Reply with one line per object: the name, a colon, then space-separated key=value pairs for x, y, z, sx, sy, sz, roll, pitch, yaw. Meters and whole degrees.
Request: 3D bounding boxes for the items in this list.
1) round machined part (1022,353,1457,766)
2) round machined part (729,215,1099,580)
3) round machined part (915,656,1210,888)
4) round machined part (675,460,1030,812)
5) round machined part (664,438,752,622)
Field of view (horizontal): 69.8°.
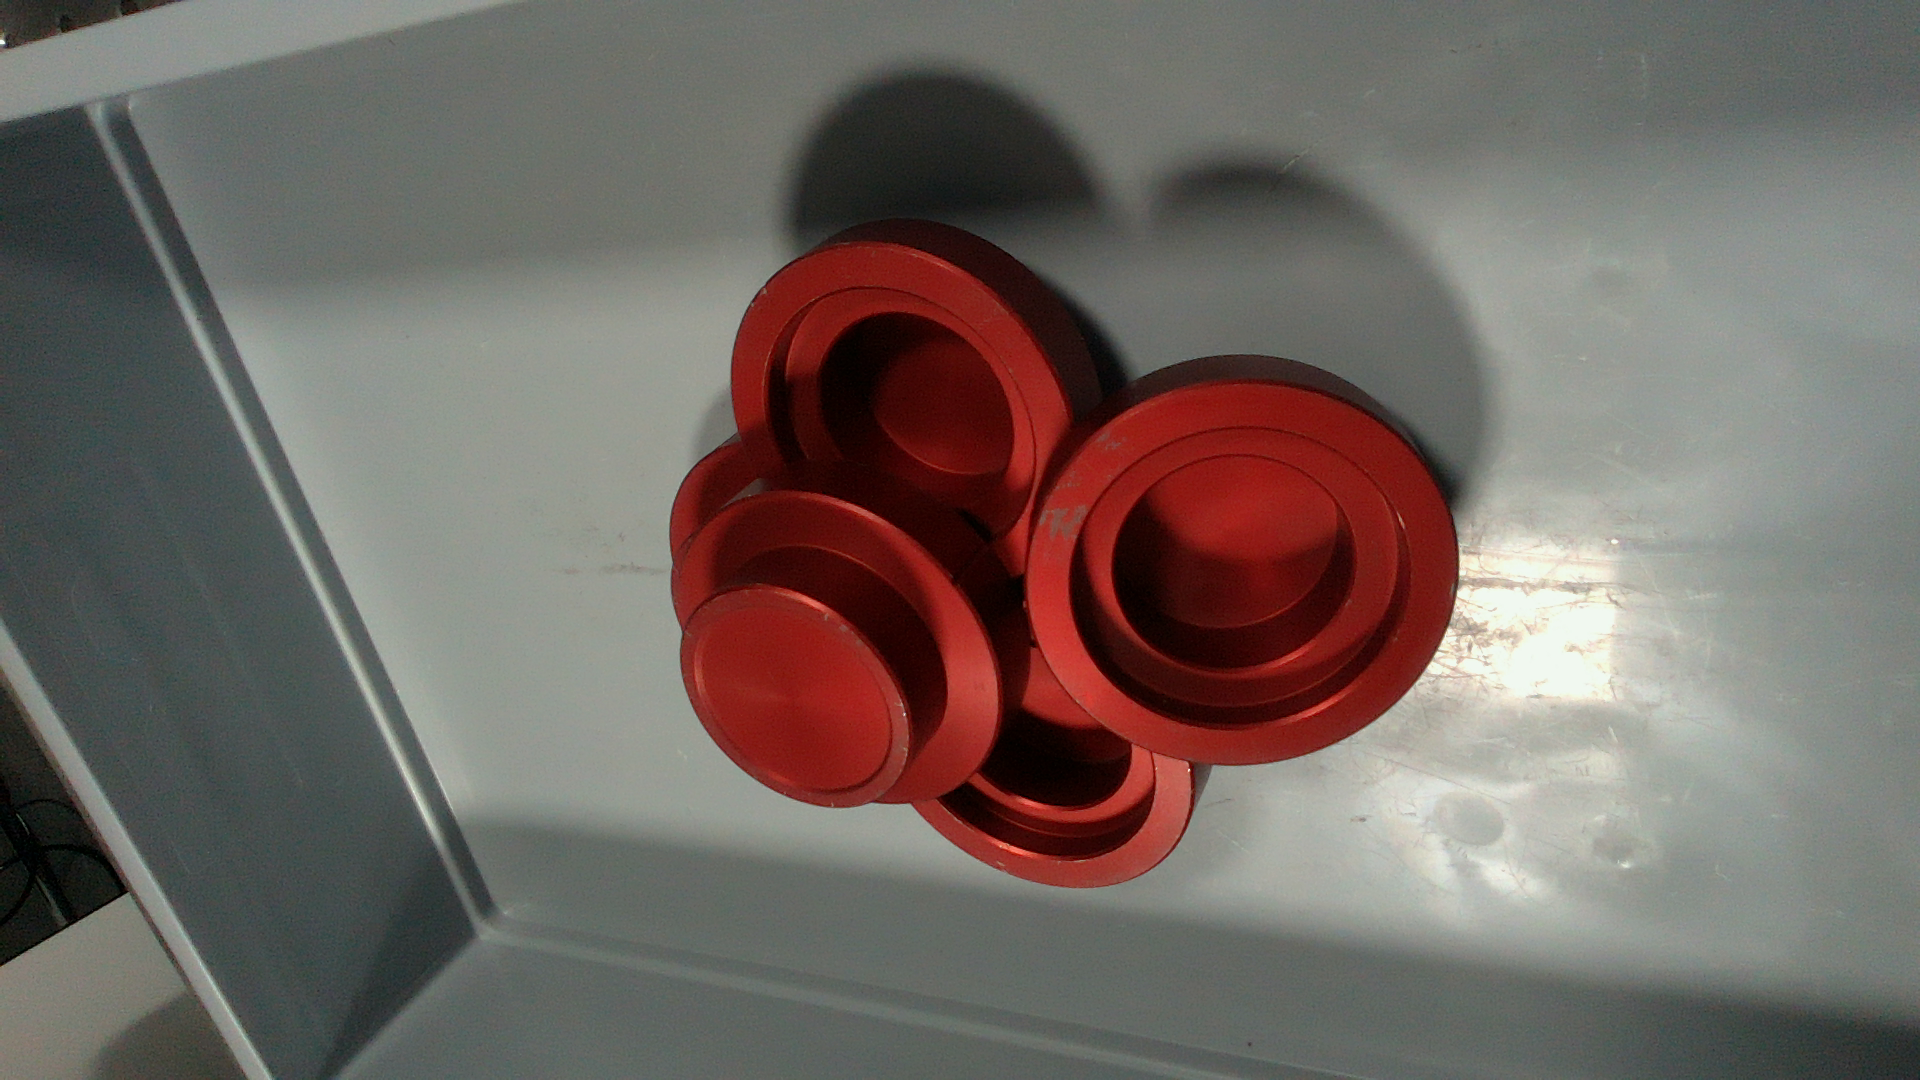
round machined part: x=0.065 y=0.002 z=0.333 sx=0.098 sy=0.042 sz=0.098 roll=2 pitch=114 yaw=5
round machined part: x=-0.008 y=-0.038 z=0.362 sx=0.098 sy=0.042 sz=0.098 roll=13 pitch=124 yaw=21
round machined part: x=0.026 y=0.049 z=0.396 sx=0.098 sy=0.042 sz=0.098 roll=13 pitch=124 yaw=21
round machined part: x=-0.034 y=0.032 z=0.362 sx=0.098 sy=0.042 sz=0.098 roll=13 pitch=124 yaw=21
round machined part: x=-0.048 y=0.015 z=0.413 sx=0.098 sy=0.042 sz=0.098 roll=13 pitch=124 yaw=21
